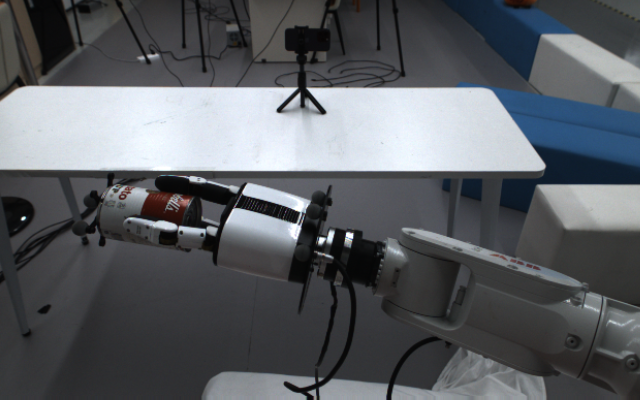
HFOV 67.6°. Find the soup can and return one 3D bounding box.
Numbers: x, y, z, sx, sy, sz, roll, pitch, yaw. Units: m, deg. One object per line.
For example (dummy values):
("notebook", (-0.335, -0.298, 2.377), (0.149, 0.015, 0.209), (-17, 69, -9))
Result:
("soup can", (-0.198, 0.022, 0.576), (0.101, 0.067, 0.067), (9, 35, 2))
